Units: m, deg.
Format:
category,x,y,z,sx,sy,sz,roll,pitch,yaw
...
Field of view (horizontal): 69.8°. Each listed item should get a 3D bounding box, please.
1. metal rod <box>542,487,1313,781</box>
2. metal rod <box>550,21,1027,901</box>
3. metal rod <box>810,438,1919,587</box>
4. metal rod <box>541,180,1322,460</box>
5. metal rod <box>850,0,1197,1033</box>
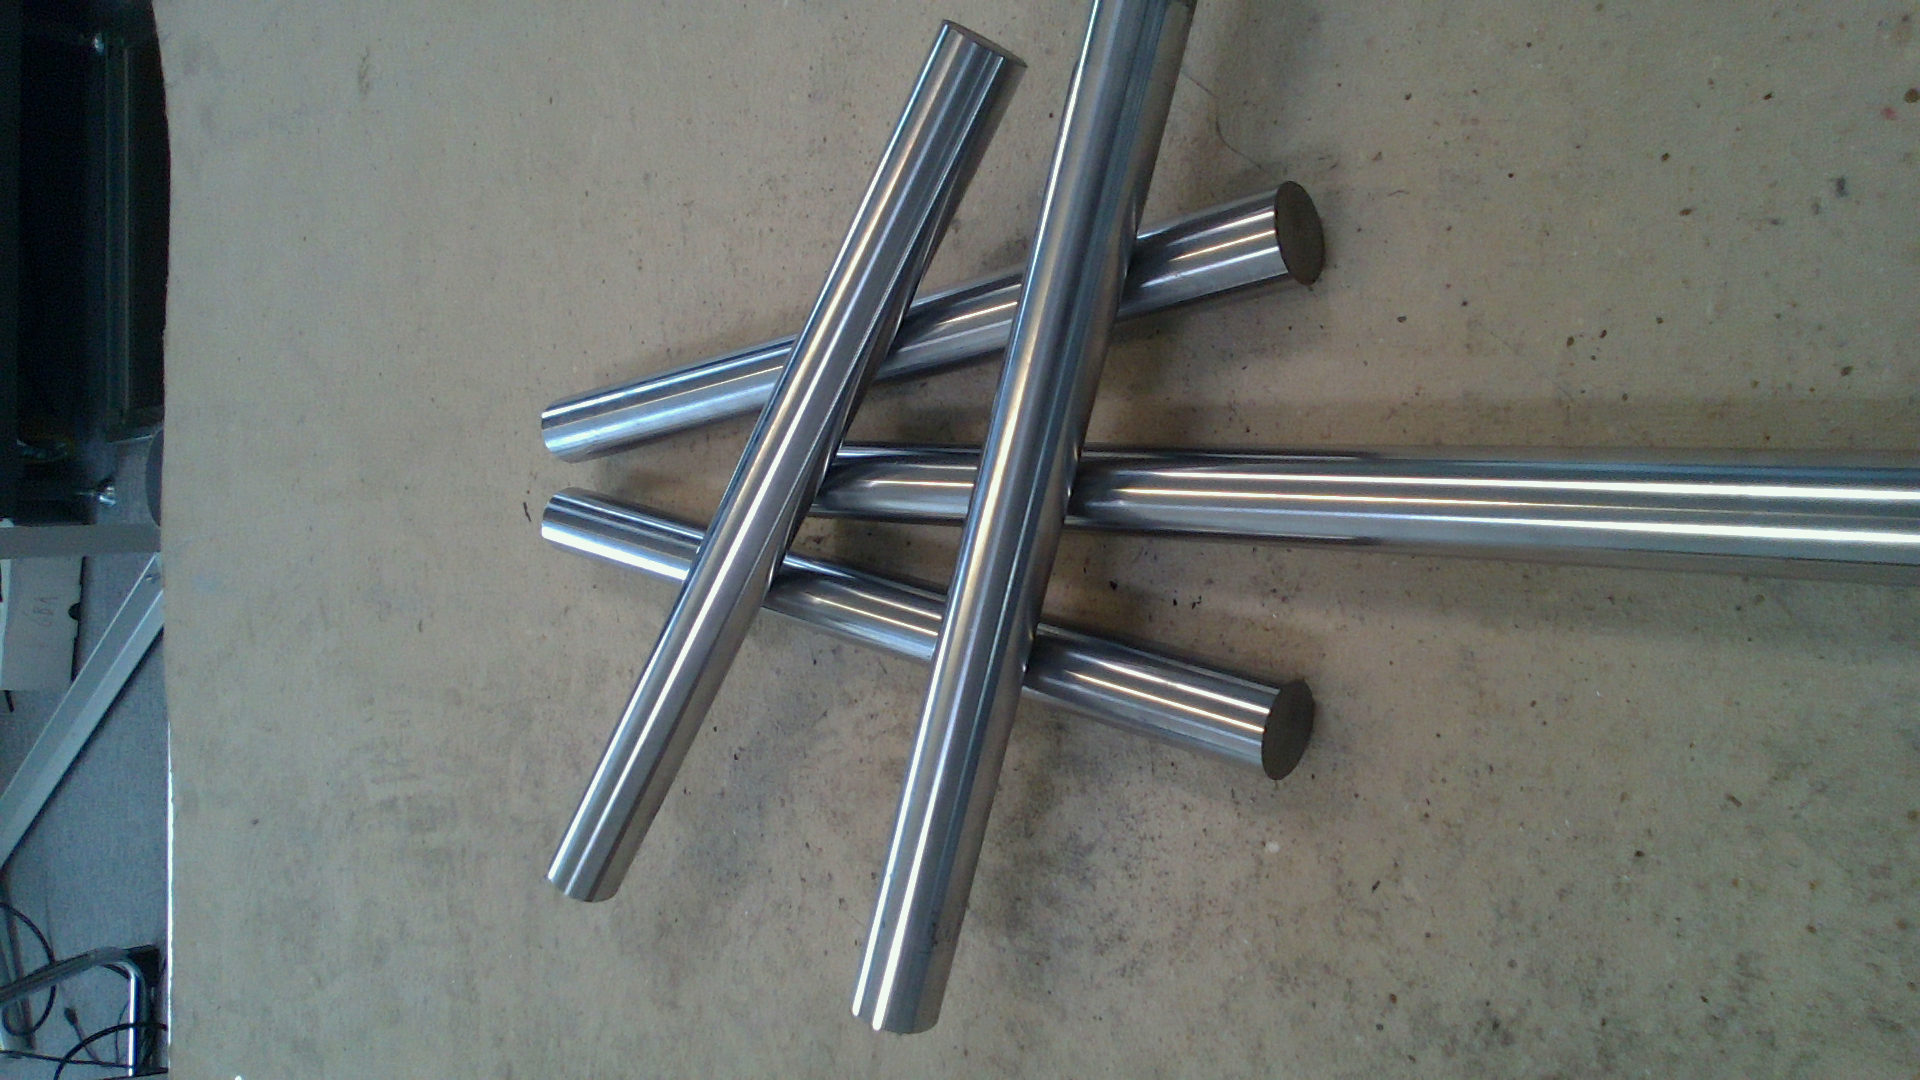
category,x,y,z,sx,sy,sz,roll,pitch,yaw
metal rod,-0.034,0.019,0.424,0.299,0.025,0.025,13,99,39
metal rod,-0.061,-0.007,0.414,0.025,0.025,0.300,43,116,31
metal rod,0.065,-0.012,0.340,0.299,0.025,0.025,4,93,40
metal rod,-0.033,-0.057,0.423,0.299,0.025,0.025,-8,85,40
metal rod,0.016,-0.015,0.349,0.025,0.025,0.300,22,104,38
